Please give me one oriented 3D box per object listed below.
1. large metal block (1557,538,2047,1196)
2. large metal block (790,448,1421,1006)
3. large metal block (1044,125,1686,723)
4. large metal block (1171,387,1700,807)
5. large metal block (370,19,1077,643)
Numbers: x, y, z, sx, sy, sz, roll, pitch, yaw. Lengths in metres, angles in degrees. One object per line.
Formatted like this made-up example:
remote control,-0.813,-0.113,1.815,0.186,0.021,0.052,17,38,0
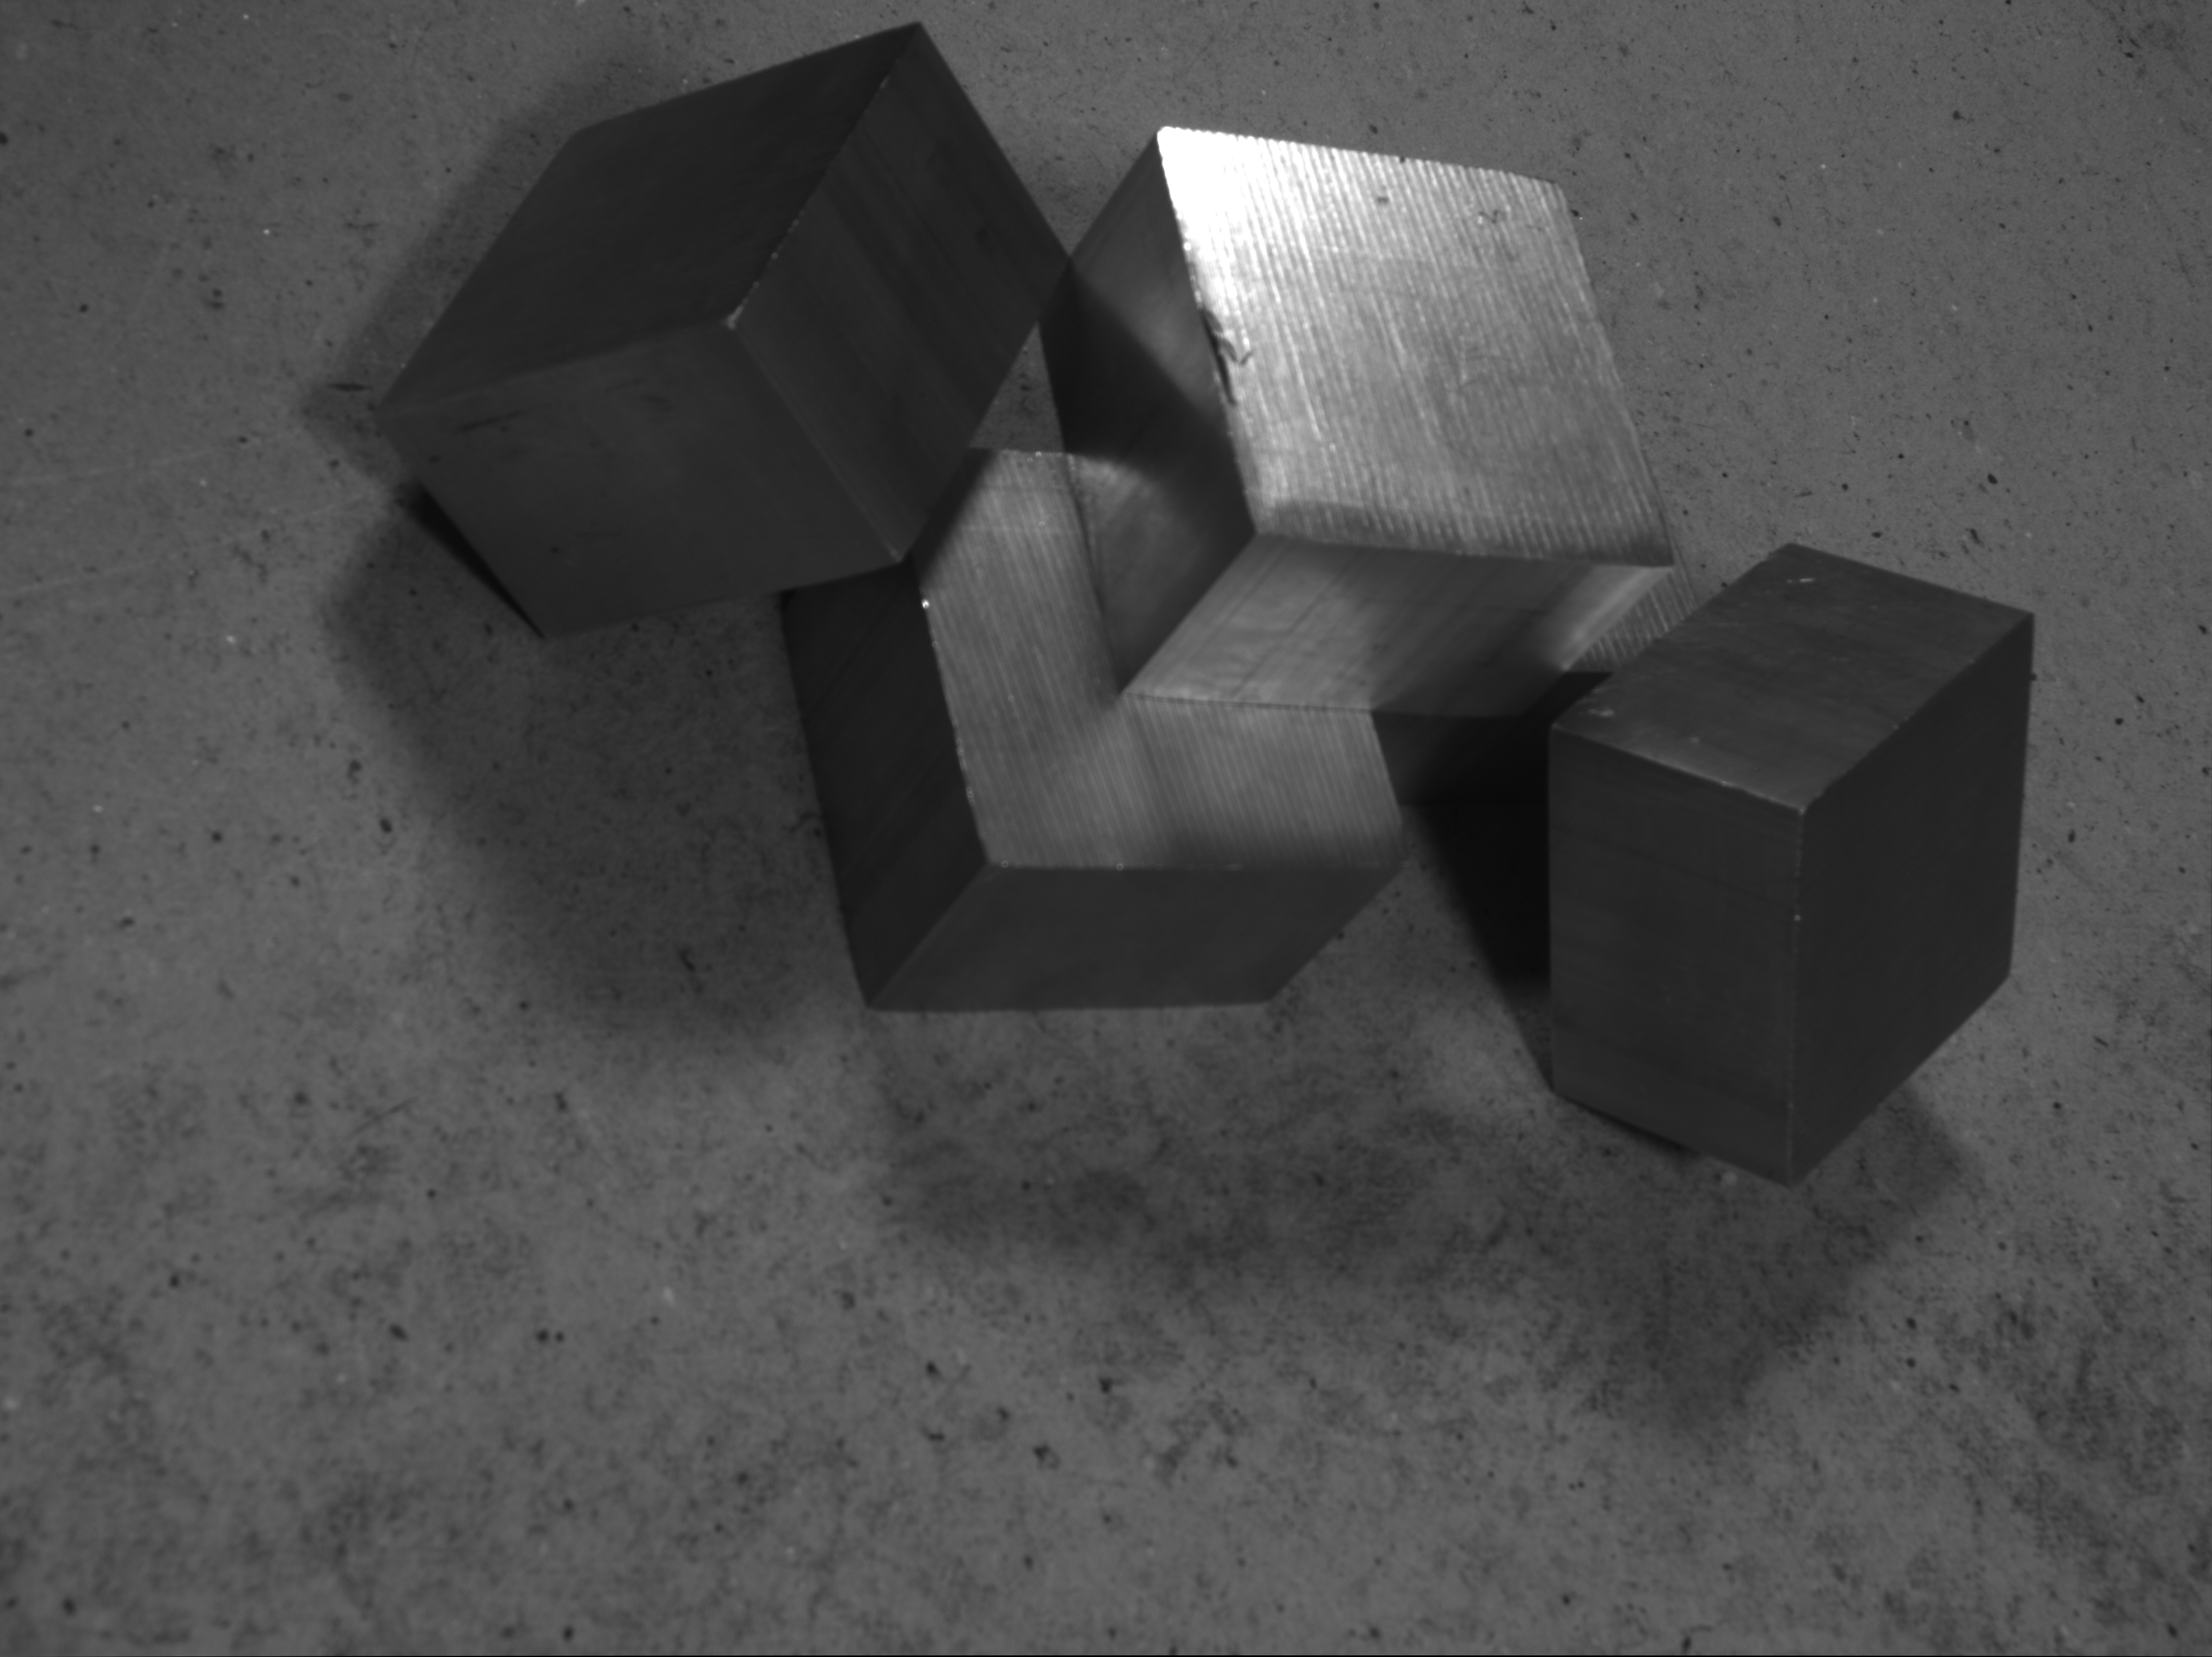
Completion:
large metal block,0.125,0.005,0.660,0.050,0.080,0.080,21,41,35
large metal block,-0.002,-0.017,0.631,0.080,0.050,0.080,0,61,-28
large metal block,0.042,-0.067,0.620,0.080,0.050,0.080,2,61,-27
large metal block,0.059,-0.051,0.688,0.080,0.050,0.080,0,61,-28
large metal block,-0.062,-0.082,0.613,0.050,0.080,0.080,55,43,-32
